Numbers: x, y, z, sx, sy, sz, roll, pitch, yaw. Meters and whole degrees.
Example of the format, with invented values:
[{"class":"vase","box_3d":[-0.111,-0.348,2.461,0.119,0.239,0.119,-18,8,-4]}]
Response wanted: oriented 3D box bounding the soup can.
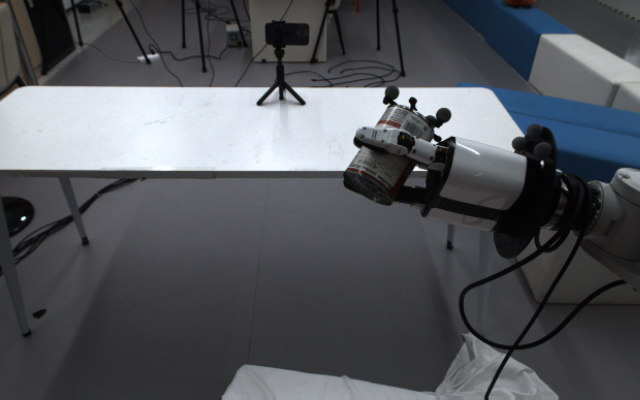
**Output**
[{"class":"soup can","box_3d":[0.083,-0.056,0.578,0.067,0.067,0.101,27,76,31]}]
